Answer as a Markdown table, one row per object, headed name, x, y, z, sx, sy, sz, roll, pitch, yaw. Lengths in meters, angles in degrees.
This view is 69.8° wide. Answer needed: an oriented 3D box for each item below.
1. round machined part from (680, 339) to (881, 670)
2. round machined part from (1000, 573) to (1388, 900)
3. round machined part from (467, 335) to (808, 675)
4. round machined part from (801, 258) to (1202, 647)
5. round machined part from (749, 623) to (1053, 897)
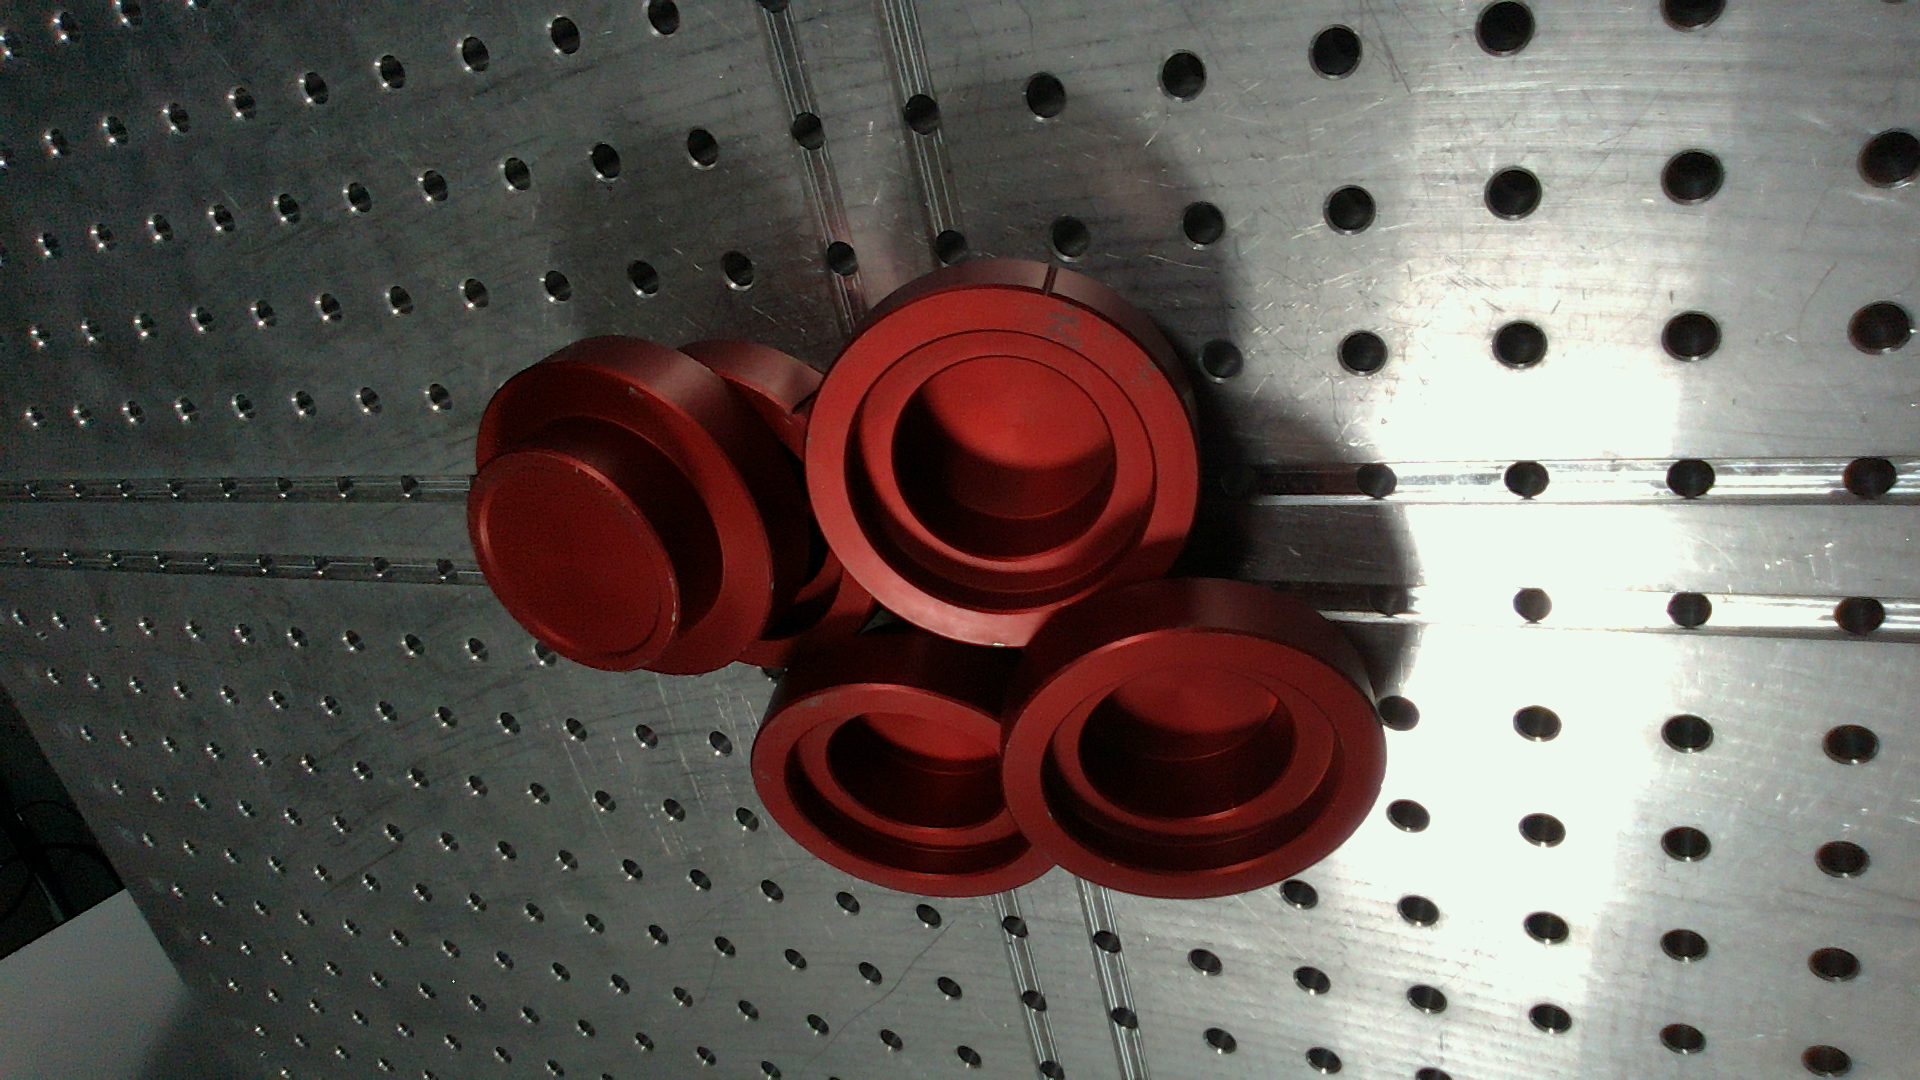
| name | x | y | z | sx | sy | sz | roll | pitch | yaw |
| --- | --- | --- | --- | --- | --- | --- | --- | --- | --- |
| round machined part | -0.058 | -0.014 | 0.407 | 0.098 | 0.042 | 0.098 | 13 | 124 | 21 |
| round machined part | 0.060 | 0.048 | 0.367 | 0.098 | 0.042 | 0.098 | 1 | 126 | 2 |
| round machined part | -0.095 | -0.003 | 0.379 | 0.098 | 0.042 | 0.098 | 13 | 124 | 21 |
| round machined part | 0.012 | -0.025 | 0.351 | 0.098 | 0.042 | 0.098 | 4 | 119 | 8 |
| round machined part | -0.011 | 0.063 | 0.418 | 0.098 | 0.042 | 0.098 | 8 | 133 | 8 |
